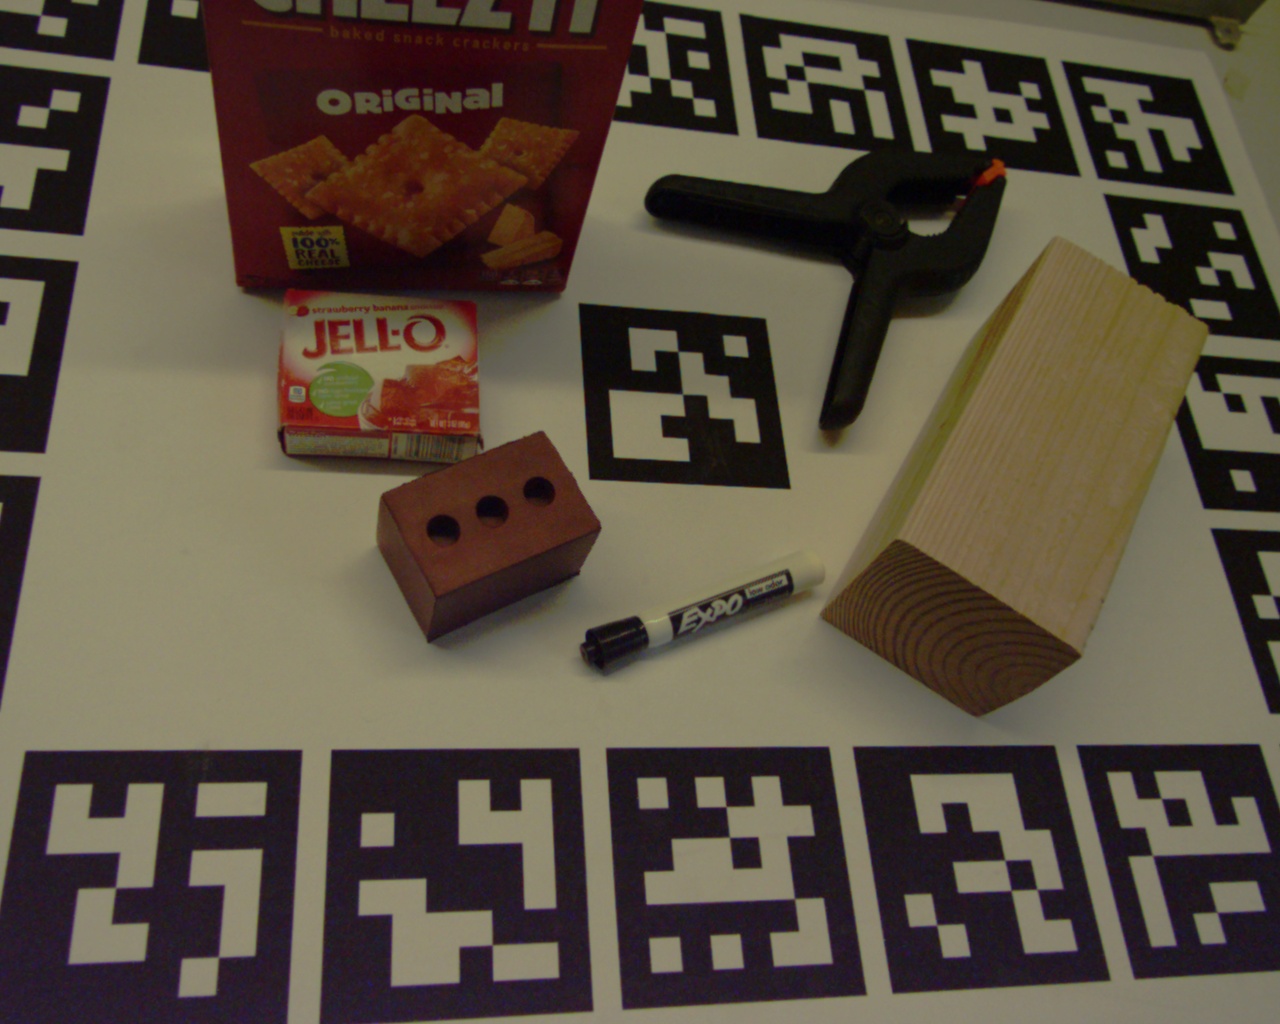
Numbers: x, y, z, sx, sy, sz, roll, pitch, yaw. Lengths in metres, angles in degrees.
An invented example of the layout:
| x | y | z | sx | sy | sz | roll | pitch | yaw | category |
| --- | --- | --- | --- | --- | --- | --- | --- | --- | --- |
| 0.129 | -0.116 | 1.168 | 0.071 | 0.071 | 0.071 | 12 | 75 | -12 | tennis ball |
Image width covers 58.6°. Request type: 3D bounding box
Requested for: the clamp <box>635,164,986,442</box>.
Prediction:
| x | y | z | sx | sy | sz | roll | pitch | yaw | category |
| --- | --- | --- | --- | --- | --- | --- | --- | --- | --- |
| 0.121 | -0.145 | 0.647 | 0.201 | 0.037 | 0.166 | -29 | 76 | -23 | clamp |

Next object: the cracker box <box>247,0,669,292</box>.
| x | y | z | sx | sy | sz | roll | pitch | yaw | category |
| --- | --- | --- | --- | --- | --- | --- | --- | --- | --- |
| -0.089 | -0.187 | 0.511 | 0.163 | 0.214 | 0.072 | -1 | 65 | -17 | cracker box |

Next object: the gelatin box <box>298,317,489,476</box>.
| x | y | z | sx | sy | sz | roll | pitch | yaw | category |
| --- | --- | --- | --- | --- | --- | --- | --- | --- | --- |
| -0.120 | -0.056 | 0.554 | 0.089 | 0.030 | 0.073 | 1 | 67 | -13 | gelatin box |

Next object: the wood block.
| x | y | z | sx | sy | sz | roll | pitch | yaw | category |
| --- | --- | --- | --- | --- | --- | --- | --- | --- | --- |
| 0.174 | -0.016 | 0.574 | 0.090 | 0.091 | 0.205 | 32 | 60 | 5 | wood block |

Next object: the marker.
| x | y | z | sx | sy | sz | roll | pitch | yaw | category |
| --- | --- | --- | --- | --- | --- | --- | --- | --- | --- |
| 0.014 | 0.051 | 0.538 | 0.120 | 0.020 | 0.020 | -18 | 73 | -20 | marker |

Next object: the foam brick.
| x | y | z | sx | sy | sz | roll | pitch | yaw | category |
| --- | --- | --- | --- | --- | --- | --- | --- | --- | --- |
| -0.071 | 0.014 | 0.518 | 0.077 | 0.051 | 0.053 | -23 | 75 | -22 | foam brick |
